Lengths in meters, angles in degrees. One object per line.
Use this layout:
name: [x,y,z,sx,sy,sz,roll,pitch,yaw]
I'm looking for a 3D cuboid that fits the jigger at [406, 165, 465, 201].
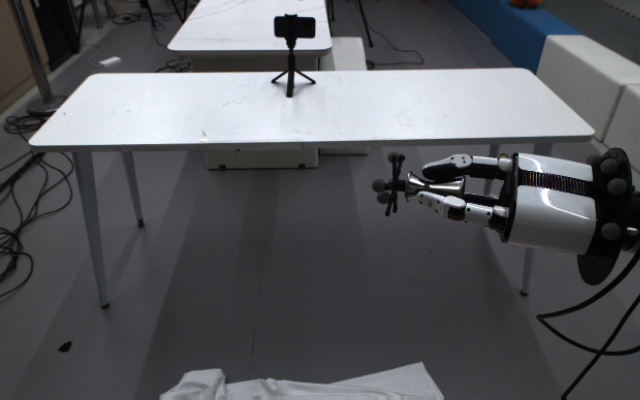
jigger: [0.152,-0.019,0.609,0.071,0.043,0.043,7,34,21]
